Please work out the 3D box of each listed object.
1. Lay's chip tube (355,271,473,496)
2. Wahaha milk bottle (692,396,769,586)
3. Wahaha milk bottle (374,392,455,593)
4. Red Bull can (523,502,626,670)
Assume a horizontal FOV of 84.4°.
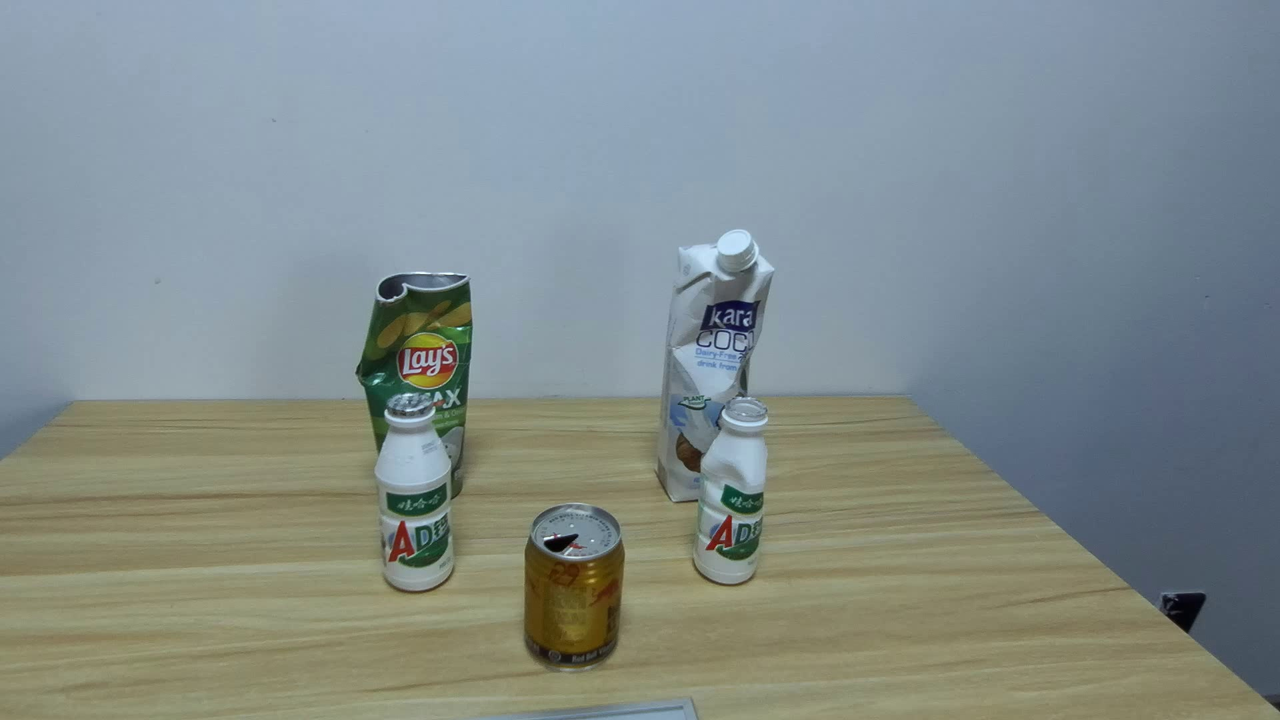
[{"bbox_3d":[-0.192,0.026,0.612,0.069,0.201,0.077,10,26,13],"label":"Lay's chip tube"},{"bbox_3d":[0.073,0.101,0.544,0.055,0.149,0.055,3,25,-1],"label":"Wahaha milk bottle"},{"bbox_3d":[-0.164,0.097,0.514,0.053,0.147,0.053,3,23,-1],"label":"Wahaha milk bottle"},{"bbox_3d":[-0.044,0.152,0.476,0.067,0.093,0.067,5,23,-2],"label":"Red Bull can"}]
